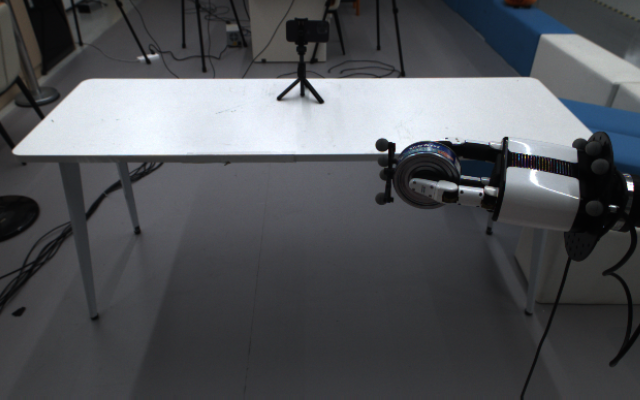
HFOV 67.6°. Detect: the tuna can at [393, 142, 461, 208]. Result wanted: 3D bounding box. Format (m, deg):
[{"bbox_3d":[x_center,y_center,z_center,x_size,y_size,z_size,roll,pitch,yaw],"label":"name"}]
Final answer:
[{"bbox_3d":[0.140,-0.036,0.628,0.085,0.085,0.034,9,31,10],"label":"tuna can"}]
